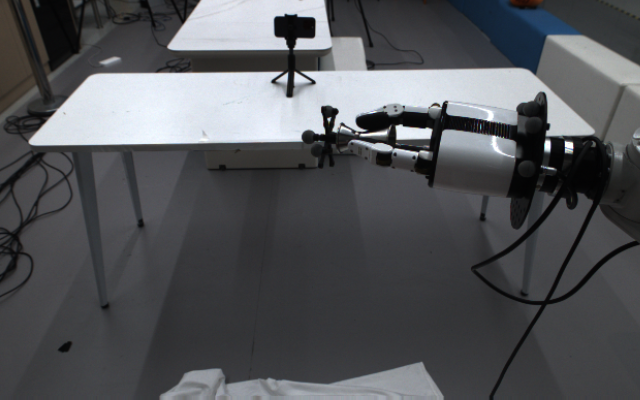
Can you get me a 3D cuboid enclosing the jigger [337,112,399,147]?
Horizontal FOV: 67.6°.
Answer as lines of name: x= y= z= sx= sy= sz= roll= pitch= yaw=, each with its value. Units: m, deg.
jigger: x=0.066 y=-0.083 z=0.614 sx=0.071 sy=0.043 sz=0.043 roll=5 pitch=34 yaw=21
